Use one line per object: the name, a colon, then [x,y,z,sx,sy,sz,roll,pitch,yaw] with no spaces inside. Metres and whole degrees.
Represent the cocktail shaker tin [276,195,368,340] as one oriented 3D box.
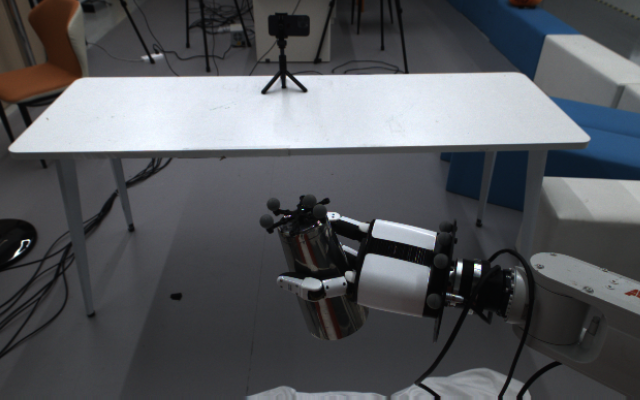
cocktail shaker tin: [0.001,0.095,0.653,0.093,0.170,0.093,-15,29,8]
